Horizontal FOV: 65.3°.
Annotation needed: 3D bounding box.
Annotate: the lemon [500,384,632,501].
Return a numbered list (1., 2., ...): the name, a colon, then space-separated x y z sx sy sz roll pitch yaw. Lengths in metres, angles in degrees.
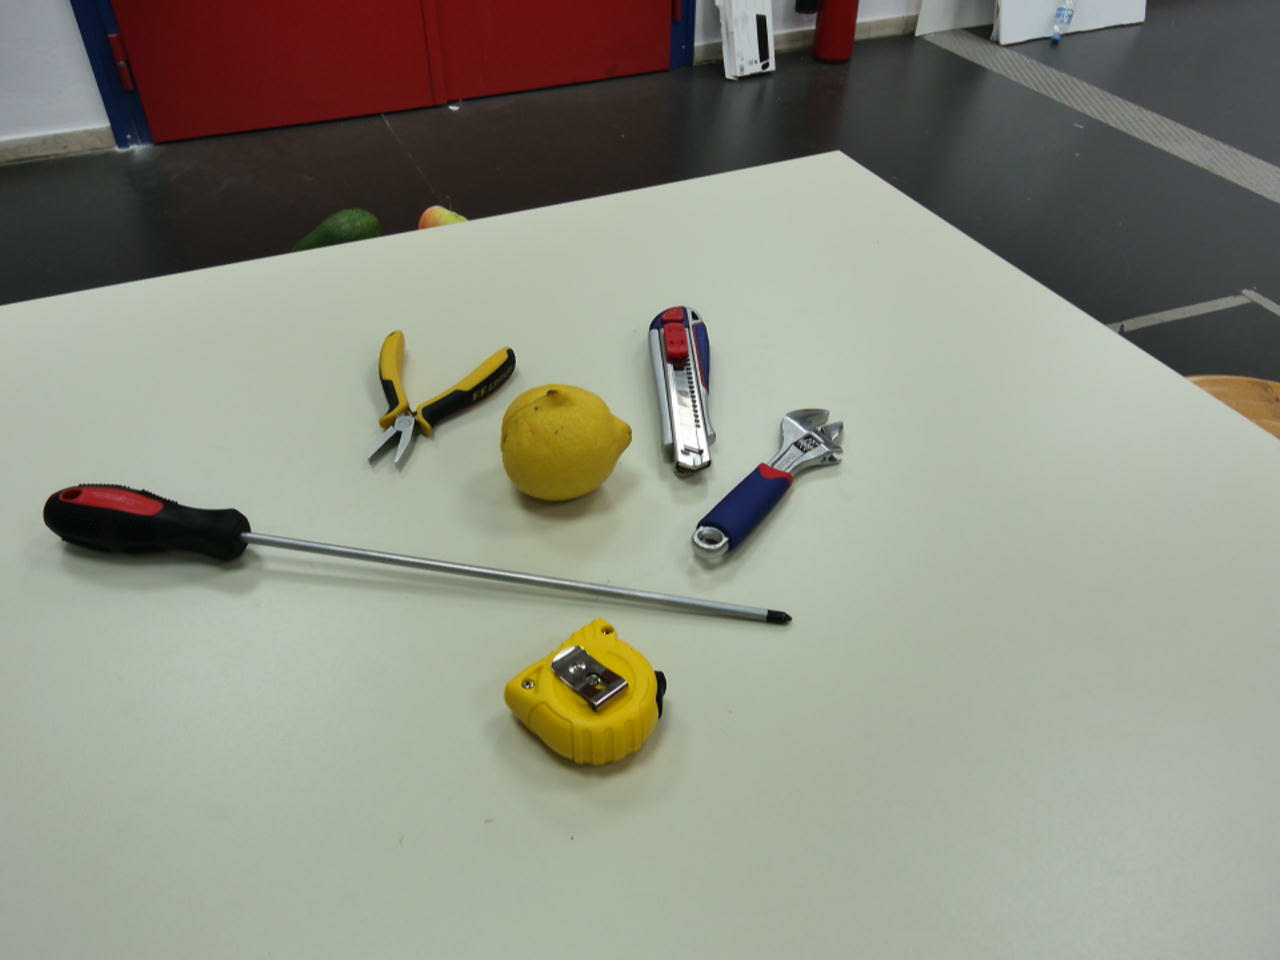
1. lemon: -0.047 -0.024 0.582 0.071 0.071 0.070 22 43 24
